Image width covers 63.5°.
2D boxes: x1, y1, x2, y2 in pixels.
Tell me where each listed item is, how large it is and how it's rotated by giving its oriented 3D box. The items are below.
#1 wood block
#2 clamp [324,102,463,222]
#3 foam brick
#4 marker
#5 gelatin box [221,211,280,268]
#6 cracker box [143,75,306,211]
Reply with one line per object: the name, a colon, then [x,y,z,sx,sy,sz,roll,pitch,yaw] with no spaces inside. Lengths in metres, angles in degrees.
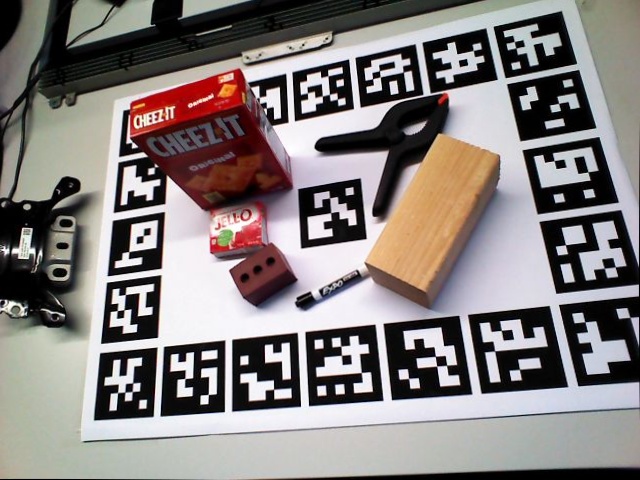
wood block: [0.171,-0.007,0.690,0.090,0.091,0.205,27,78,25]
clamp: [0.130,-0.134,0.771,0.203,0.036,0.165,-37,66,1]
foam brick: [-0.067,0.067,0.749,0.078,0.051,0.052,-32,68,4]
marker: [0.025,0.087,0.732,0.121,0.019,0.019,-27,68,6]
gelatin box: [-0.108,0.000,0.799,0.090,0.030,0.073,-9,71,13]
cracker box: [-0.125,-0.127,0.740,0.165,0.214,0.071,-11,67,10]
